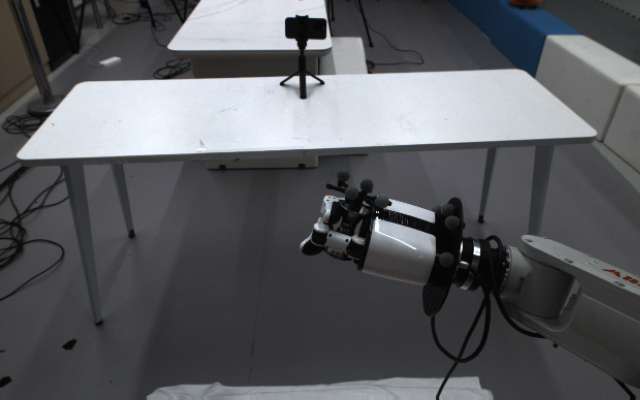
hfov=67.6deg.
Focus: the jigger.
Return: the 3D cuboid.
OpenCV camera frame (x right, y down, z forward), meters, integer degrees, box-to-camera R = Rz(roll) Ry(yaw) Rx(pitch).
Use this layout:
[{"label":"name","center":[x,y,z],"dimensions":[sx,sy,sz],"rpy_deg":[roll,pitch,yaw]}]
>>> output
[{"label":"jigger","center":[0.035,0.040,0.636],"dimensions":[0.043,0.071,0.043],"rpy_deg":[18,17,-6]}]
